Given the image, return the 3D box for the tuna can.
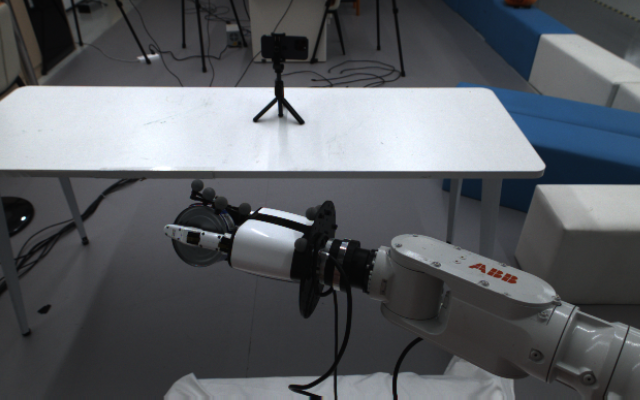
[{"bbox_3d":[-0.158,0.049,0.674,0.085,0.085,0.034,13,3,16],"label":"tuna can"}]
